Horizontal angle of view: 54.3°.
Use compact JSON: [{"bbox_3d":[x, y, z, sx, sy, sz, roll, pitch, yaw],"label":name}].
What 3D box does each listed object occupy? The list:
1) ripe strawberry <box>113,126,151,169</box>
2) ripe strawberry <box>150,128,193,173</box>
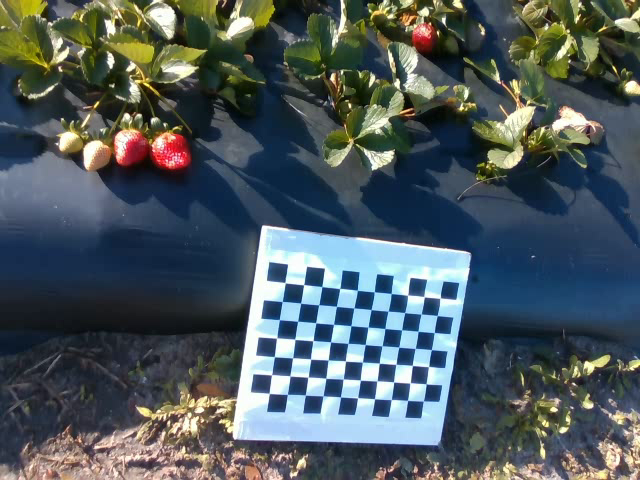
[{"bbox_3d":[-0.230,-0.111,0.744,0.050,0.061,0.043,32,-47,-19],"label":"ripe strawberry"},{"bbox_3d":[-0.177,-0.106,0.753,0.067,0.057,0.051,41,-8,38],"label":"ripe strawberry"}]
